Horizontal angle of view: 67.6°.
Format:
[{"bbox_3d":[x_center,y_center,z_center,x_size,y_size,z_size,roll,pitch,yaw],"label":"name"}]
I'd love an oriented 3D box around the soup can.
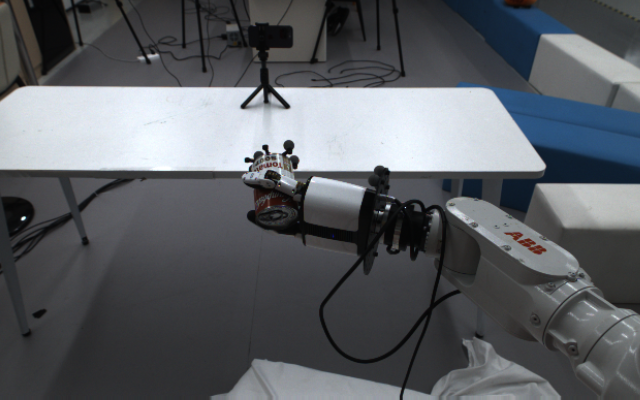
[{"bbox_3d":[-0.070,-0.013,0.750,0.067,0.067,0.101,-5,57,-9],"label":"soup can"}]
